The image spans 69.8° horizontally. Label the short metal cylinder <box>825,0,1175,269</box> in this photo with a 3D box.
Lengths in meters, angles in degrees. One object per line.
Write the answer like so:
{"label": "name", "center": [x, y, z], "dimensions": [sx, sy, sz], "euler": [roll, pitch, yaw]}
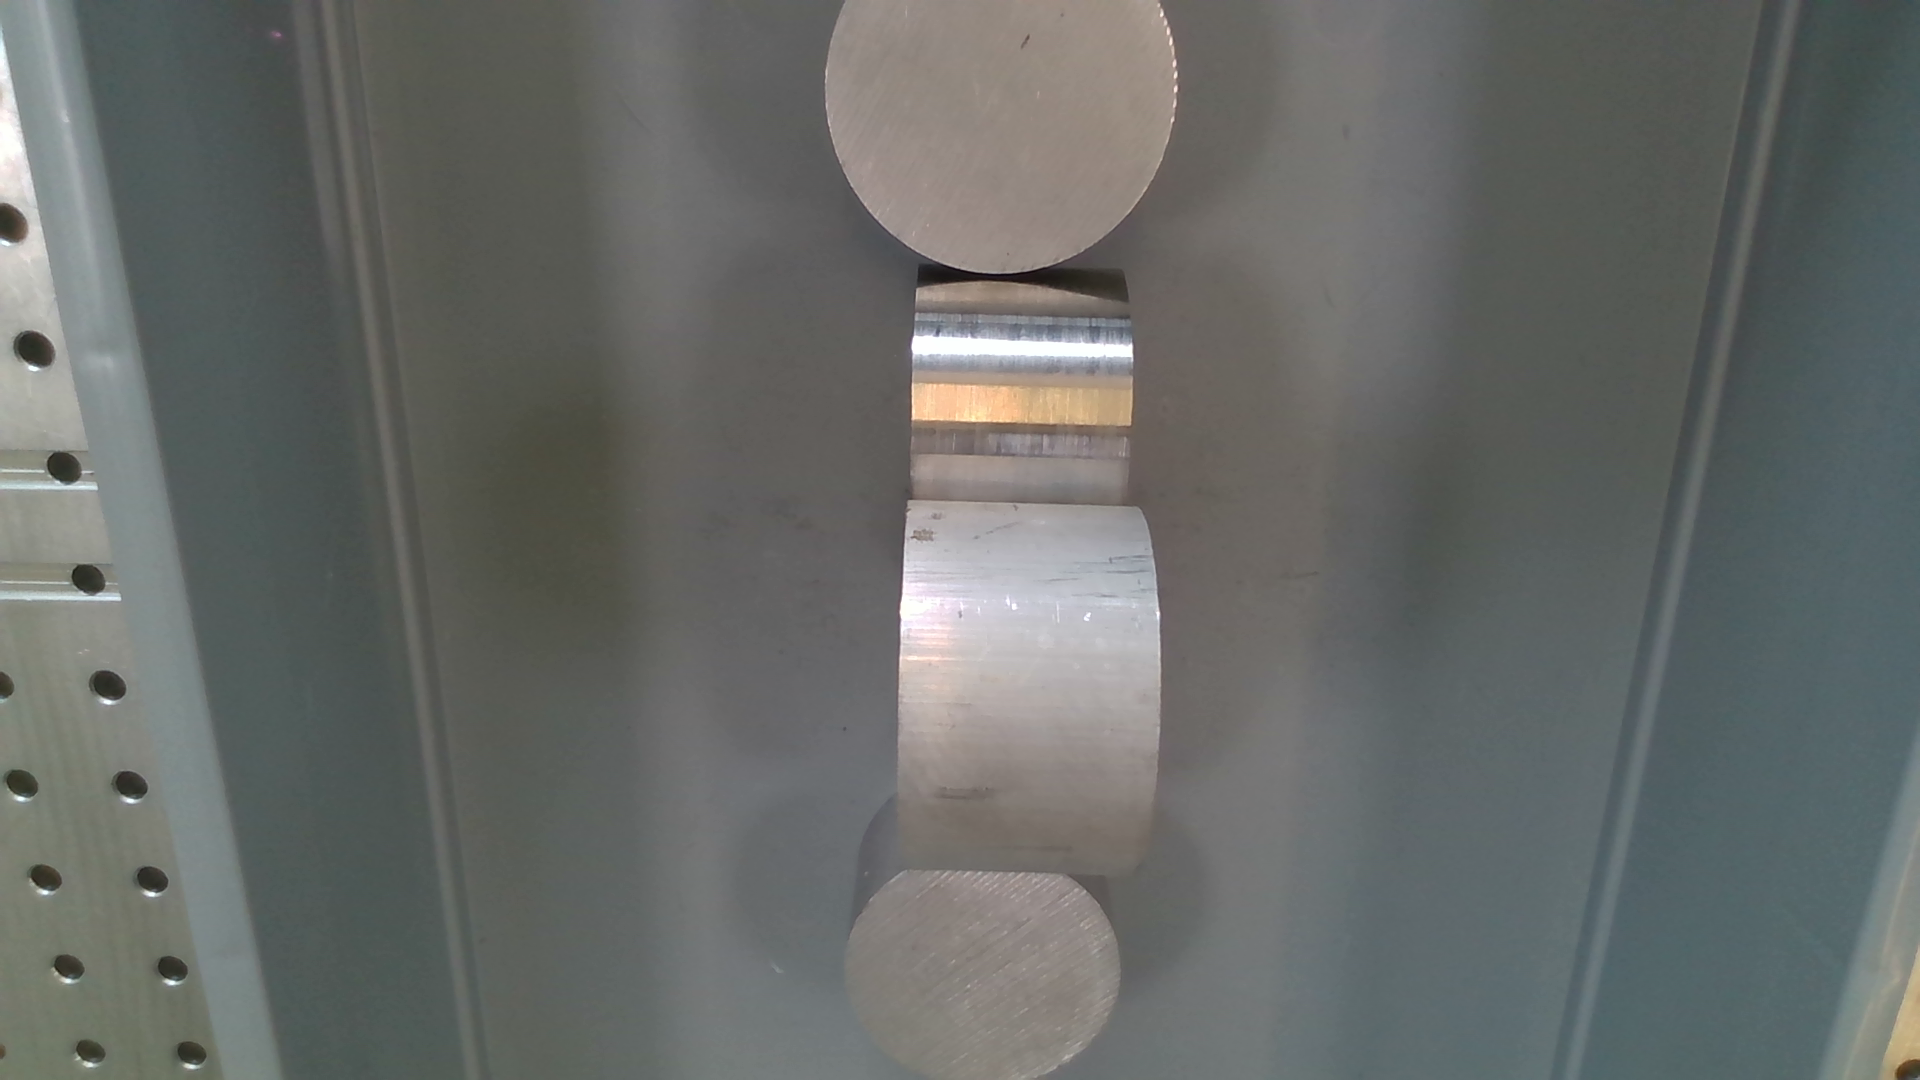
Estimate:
{"label": "short metal cylinder", "center": [0.009, -0.111, 0.338], "dimensions": [0.080, 0.050, 0.080], "euler": [0, 110, 0]}

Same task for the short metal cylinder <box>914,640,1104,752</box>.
{"label": "short metal cylinder", "center": [0.011, 0.046, 0.379], "dimensions": [0.050, 0.080, 0.080], "euler": [1, 110, -1]}

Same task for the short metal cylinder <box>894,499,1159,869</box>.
{"label": "short metal cylinder", "center": [0.012, 0.031, 0.302], "dimensions": [0.050, 0.080, 0.080], "euler": [1, 110, -1]}

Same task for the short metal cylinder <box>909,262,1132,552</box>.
{"label": "short metal cylinder", "center": [0.013, -0.030, 0.352], "dimensions": [0.050, 0.080, 0.080], "euler": [1, 110, -1]}

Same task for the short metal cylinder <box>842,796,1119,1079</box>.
{"label": "short metal cylinder", "center": [0.006, 0.115, 0.421], "dimensions": [0.080, 0.050, 0.080], "euler": [0, 110, 0]}
